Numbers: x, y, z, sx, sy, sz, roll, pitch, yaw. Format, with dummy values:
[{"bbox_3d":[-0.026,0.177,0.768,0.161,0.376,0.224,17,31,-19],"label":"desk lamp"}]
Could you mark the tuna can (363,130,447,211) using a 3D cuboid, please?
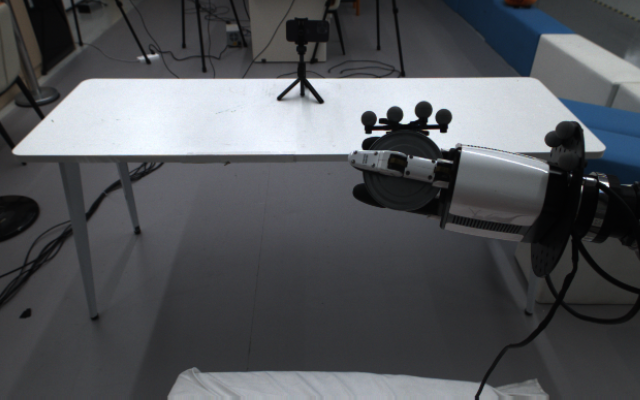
[{"bbox_3d":[0.092,-0.032,0.522,0.085,0.085,0.034,13,-2,15],"label":"tuna can"}]
